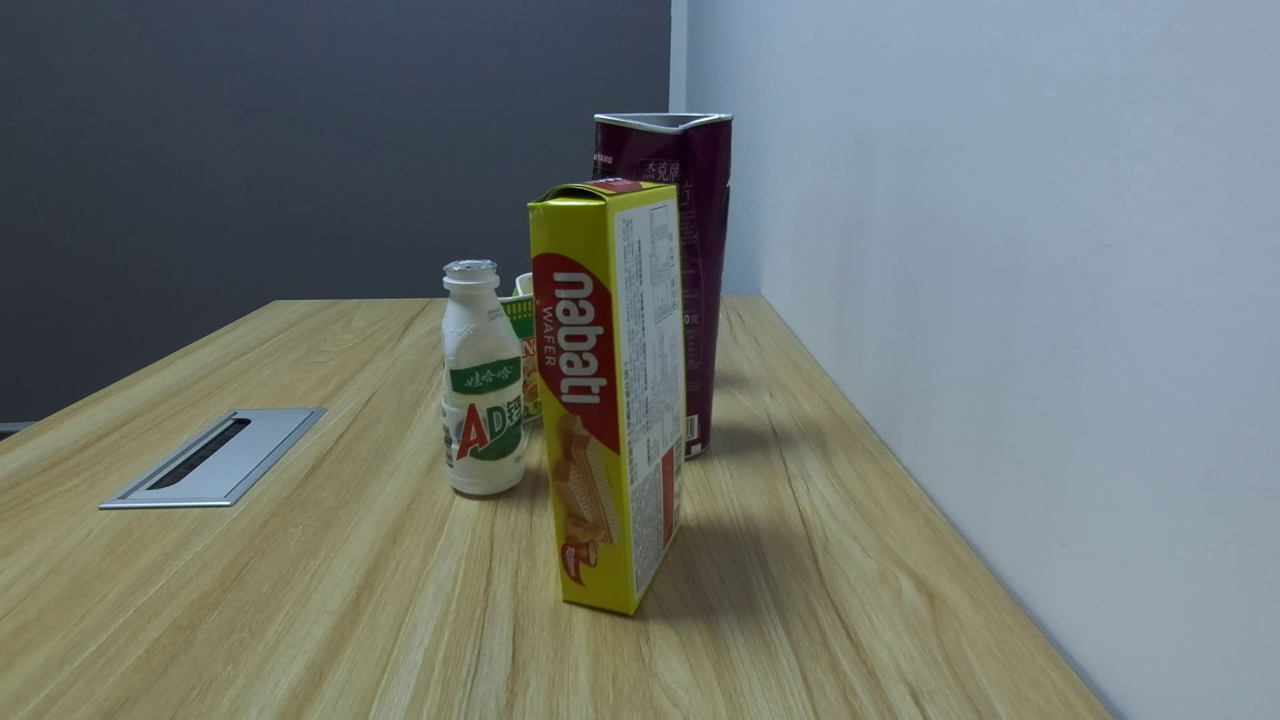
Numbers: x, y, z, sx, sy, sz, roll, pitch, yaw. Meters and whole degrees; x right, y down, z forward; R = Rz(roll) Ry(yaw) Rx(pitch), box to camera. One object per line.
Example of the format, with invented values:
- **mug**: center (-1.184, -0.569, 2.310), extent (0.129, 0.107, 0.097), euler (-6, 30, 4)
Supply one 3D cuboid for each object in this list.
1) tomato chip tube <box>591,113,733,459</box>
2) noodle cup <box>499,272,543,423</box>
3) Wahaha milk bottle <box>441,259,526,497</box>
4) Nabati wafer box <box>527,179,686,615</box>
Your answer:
- **tomato chip tube**: center (0.017, -0.049, 0.497), extent (0.077, 0.235, 0.076), euler (8, 19, 24)
- **noodle cup**: center (-0.083, -0.002, 0.559), extent (0.083, 0.121, 0.075), euler (-19, -4, -16)
- **Wahaha milk bottle**: center (-0.101, 0.014, 0.459), extent (0.055, 0.149, 0.055), euler (-4, 11, 1)
- **Nabati wafer box**: center (-0.007, 0.013, 0.363), extent (0.042, 0.204, 0.107), euler (5, 19, 20)
